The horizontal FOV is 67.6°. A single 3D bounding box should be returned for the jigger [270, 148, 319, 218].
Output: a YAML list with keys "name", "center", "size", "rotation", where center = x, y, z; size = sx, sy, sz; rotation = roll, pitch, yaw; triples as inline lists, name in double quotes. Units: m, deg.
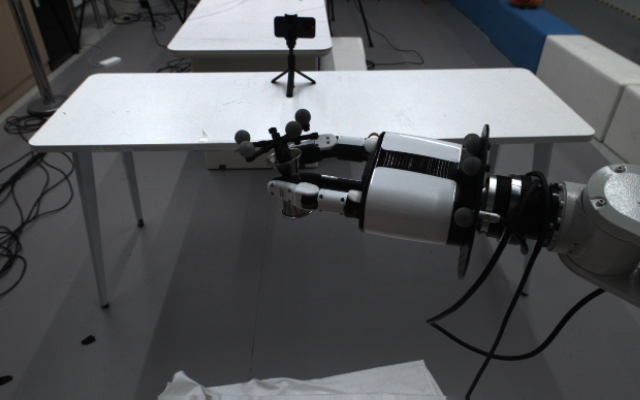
- name: "jigger"
  center: [-0.029, -0.018, 0.540]
  size: [0.043, 0.071, 0.043]
  rotation: [-12, 29, 7]
